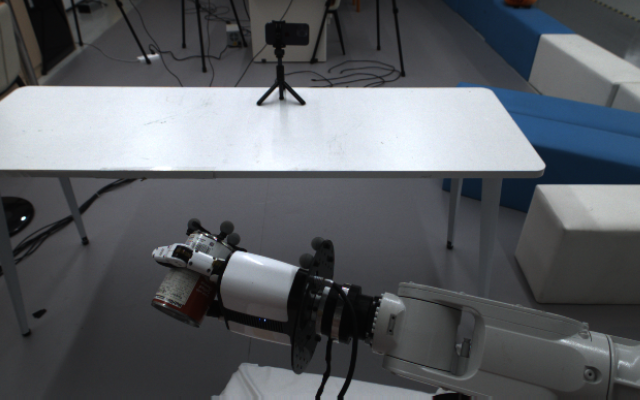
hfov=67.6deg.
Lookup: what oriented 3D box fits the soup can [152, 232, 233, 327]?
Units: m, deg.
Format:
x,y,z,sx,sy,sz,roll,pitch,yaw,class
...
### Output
x,y,z,sx,sy,sz,roll,pitch,yaw,class
-0.156,0.099,0.607,0.067,0.067,0.101,15,63,18,soup can
